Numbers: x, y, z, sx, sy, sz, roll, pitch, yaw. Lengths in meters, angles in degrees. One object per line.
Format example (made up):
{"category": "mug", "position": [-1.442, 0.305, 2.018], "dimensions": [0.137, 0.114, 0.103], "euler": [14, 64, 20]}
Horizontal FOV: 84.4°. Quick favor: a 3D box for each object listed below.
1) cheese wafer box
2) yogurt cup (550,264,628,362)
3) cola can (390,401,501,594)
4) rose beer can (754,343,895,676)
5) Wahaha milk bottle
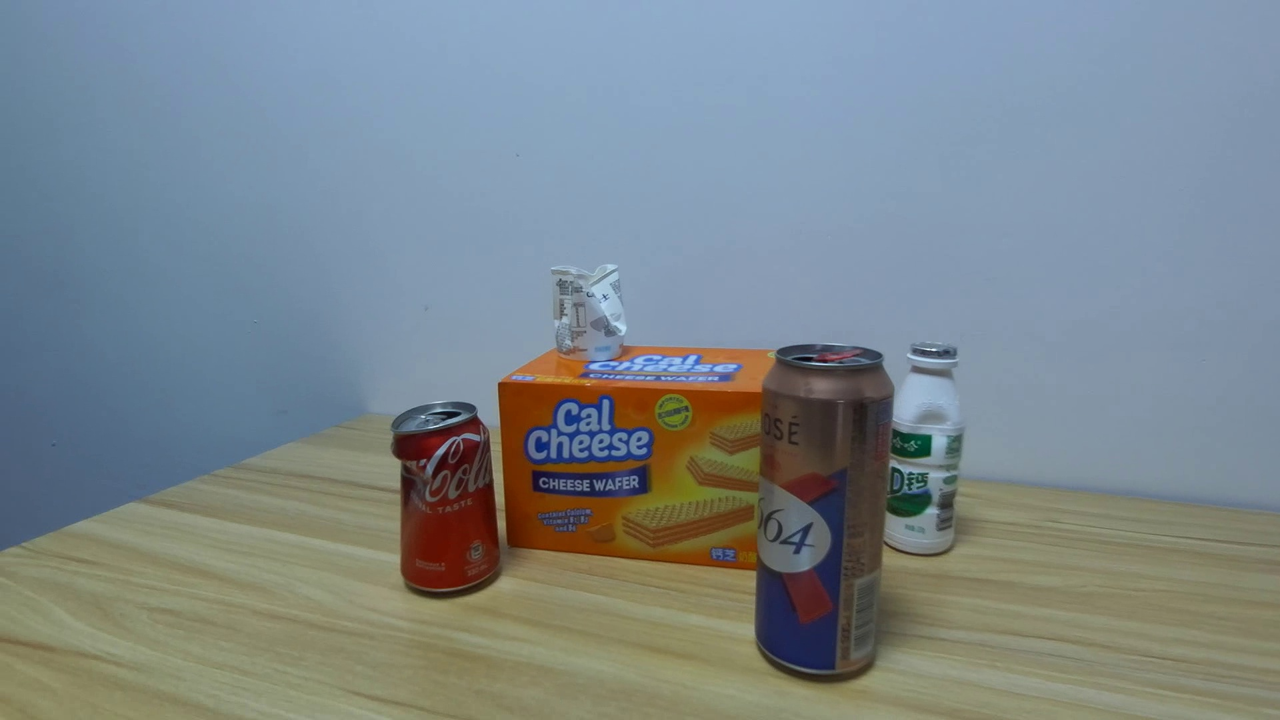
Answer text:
{"category": "cheese wafer box", "position": [0.023, 0.066, 0.548], "dimensions": [0.221, 0.129, 0.148], "euler": [2, 12, 13]}
{"category": "yogurt cup", "position": [-0.041, -0.039, 0.569], "dimensions": [0.055, 0.072, 0.055], "euler": [-7, 15, -30]}
{"category": "cola can", "position": [-0.126, 0.091, 0.466], "dimensions": [0.066, 0.117, 0.072], "euler": [-5, 11, -25]}
{"category": "rose beer can", "position": [0.097, 0.080, 0.377], "dimensions": [0.068, 0.169, 0.068], "euler": [0, 12, 0]}
{"category": "Wahaha milk bottle", "position": [0.201, 0.068, 0.502], "dimensions": [0.053, 0.136, 0.053], "euler": [1, 12, 0]}
